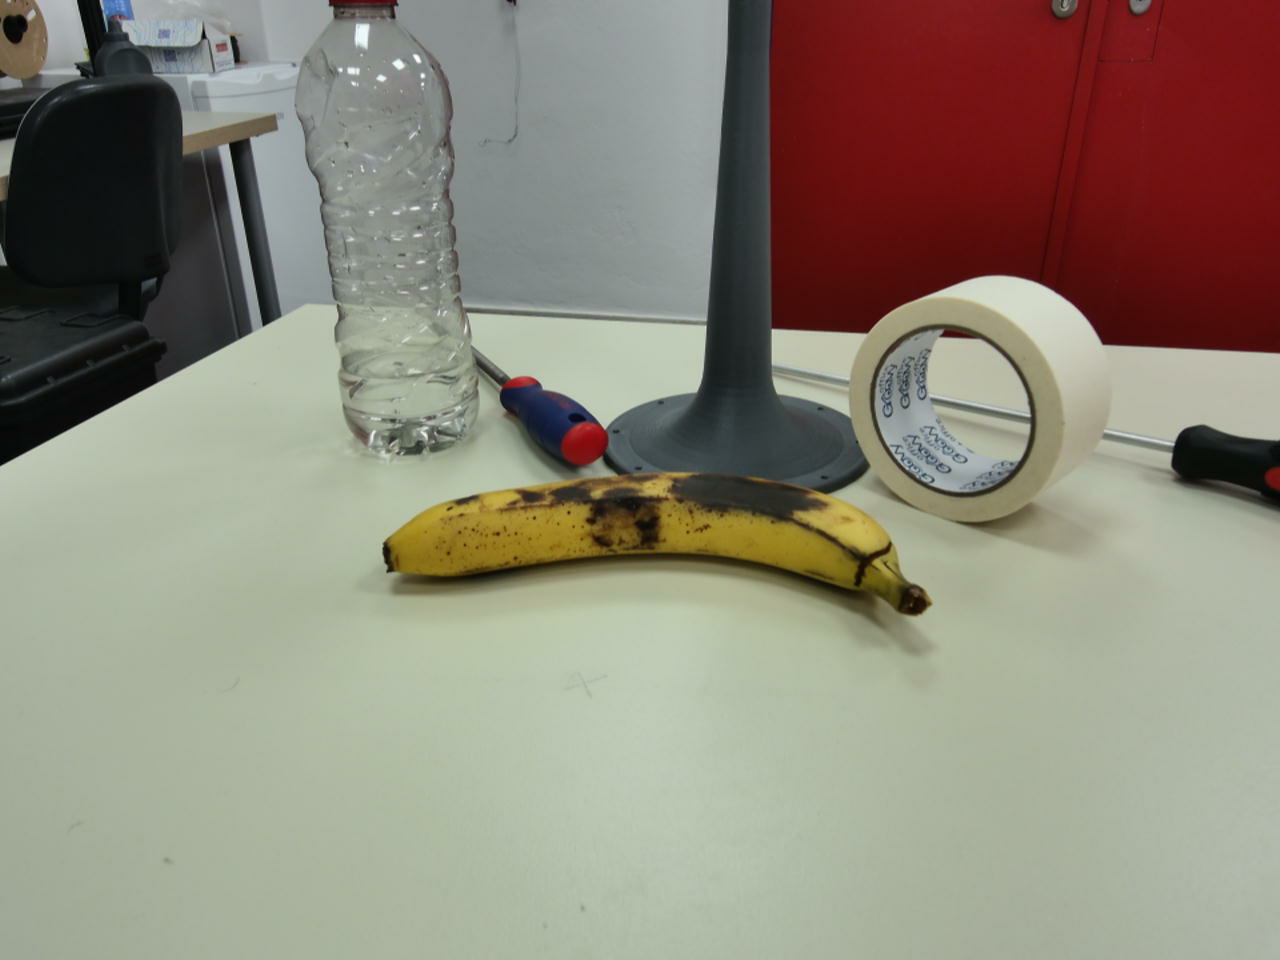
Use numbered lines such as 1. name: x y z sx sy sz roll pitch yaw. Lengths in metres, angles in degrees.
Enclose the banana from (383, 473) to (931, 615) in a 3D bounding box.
1. banana: 0.008 0.023 0.427 0.222 0.037 0.084 5 24 12
